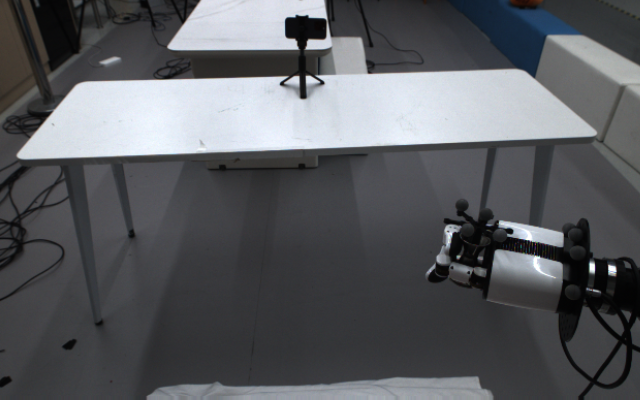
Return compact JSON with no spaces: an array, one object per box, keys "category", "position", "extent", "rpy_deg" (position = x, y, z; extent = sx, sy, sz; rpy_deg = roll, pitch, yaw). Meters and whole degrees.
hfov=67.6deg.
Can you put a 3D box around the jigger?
[{"category":"jigger","position":[0.204,0.079,0.661],"extent":[0.043,0.071,0.043],"rpy_deg":[6,26,-3]}]
